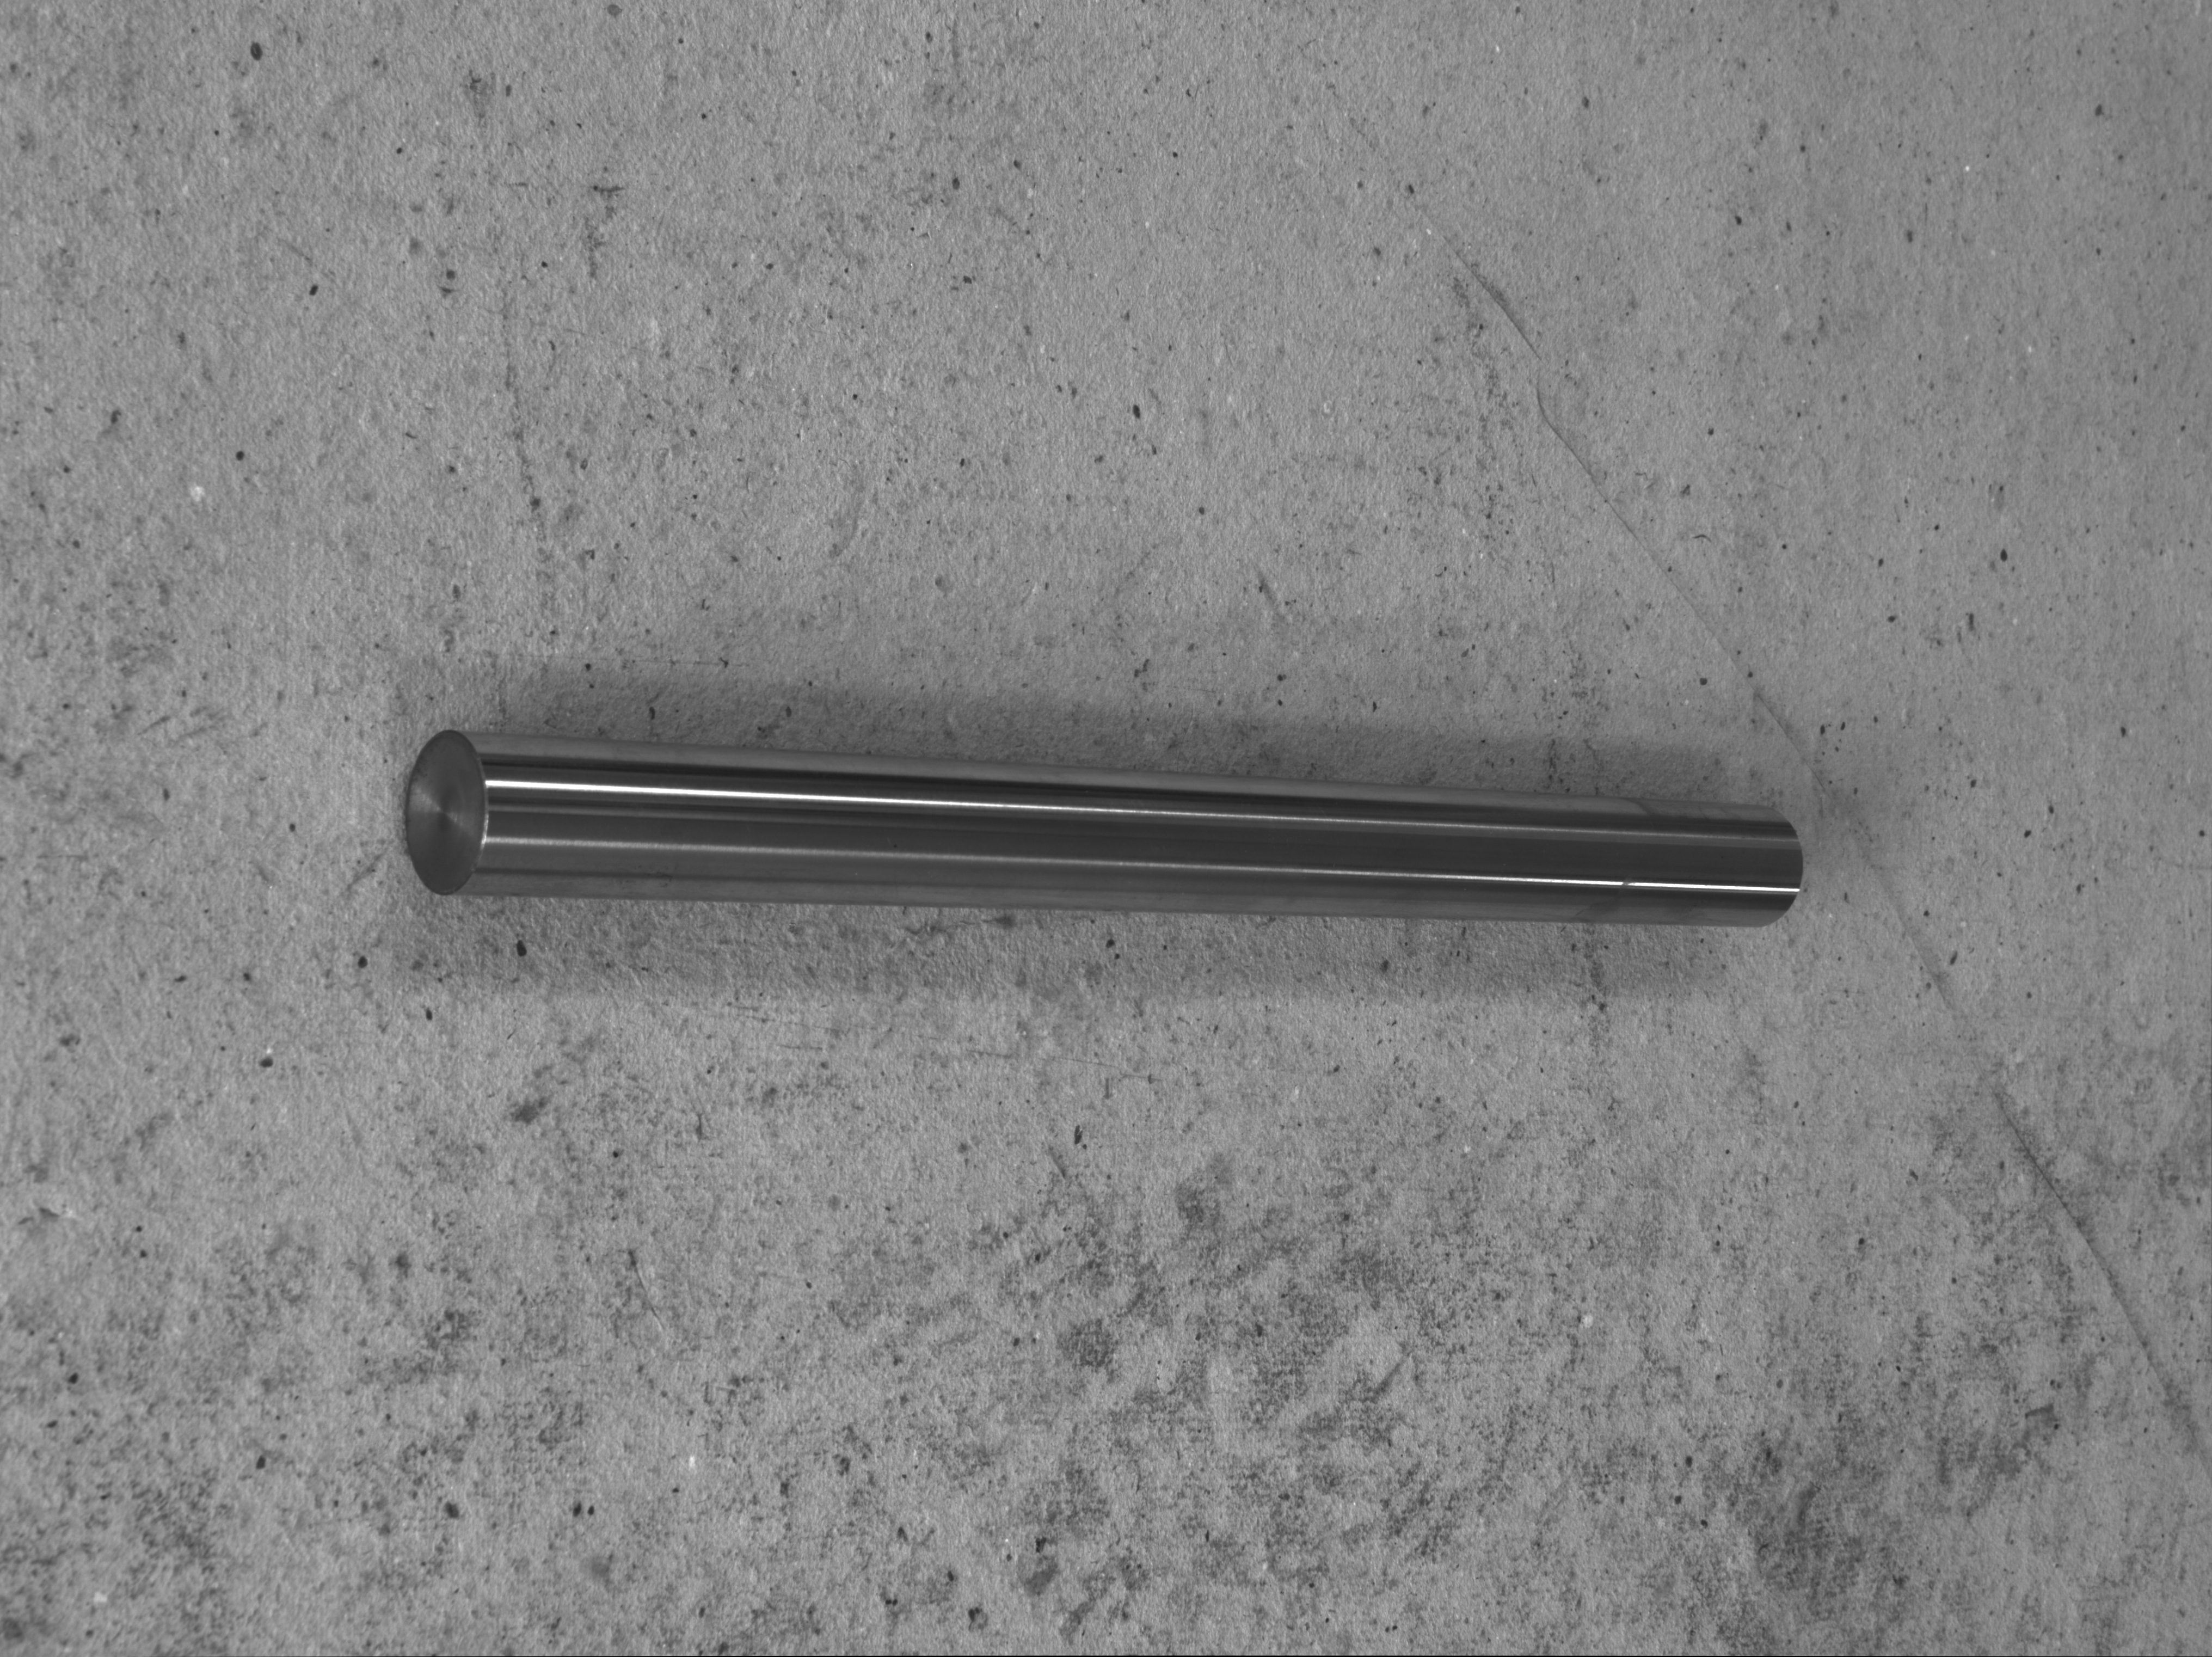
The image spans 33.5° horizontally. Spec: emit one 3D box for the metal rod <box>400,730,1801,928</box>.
[{"bbox_3d":[0.016,0.003,0.649,0.301,0.025,0.025,3,88,-40],"label":"metal rod"}]
